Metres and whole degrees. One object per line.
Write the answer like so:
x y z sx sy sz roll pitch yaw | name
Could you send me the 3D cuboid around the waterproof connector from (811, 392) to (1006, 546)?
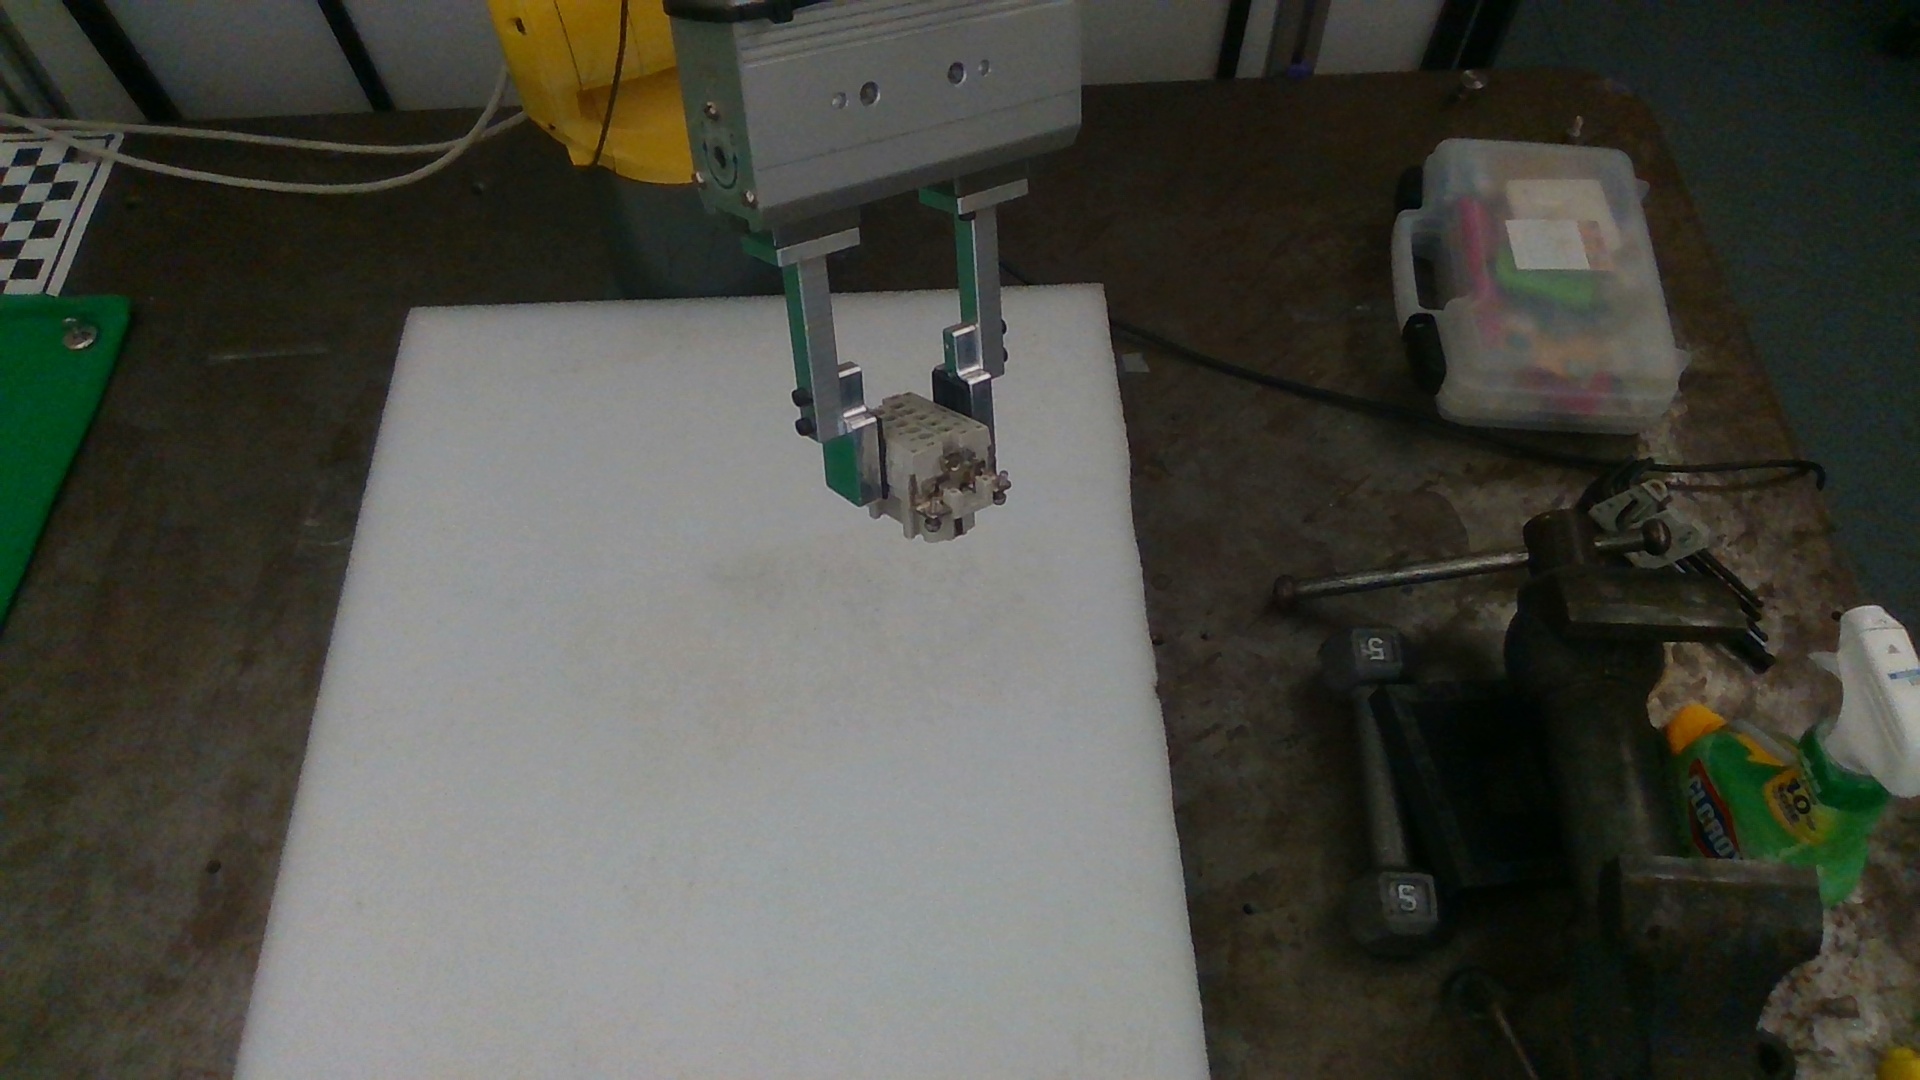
-0.017 -0.024 0.464 0.036 0.038 0.069 -21 30 -35 | waterproof connector
